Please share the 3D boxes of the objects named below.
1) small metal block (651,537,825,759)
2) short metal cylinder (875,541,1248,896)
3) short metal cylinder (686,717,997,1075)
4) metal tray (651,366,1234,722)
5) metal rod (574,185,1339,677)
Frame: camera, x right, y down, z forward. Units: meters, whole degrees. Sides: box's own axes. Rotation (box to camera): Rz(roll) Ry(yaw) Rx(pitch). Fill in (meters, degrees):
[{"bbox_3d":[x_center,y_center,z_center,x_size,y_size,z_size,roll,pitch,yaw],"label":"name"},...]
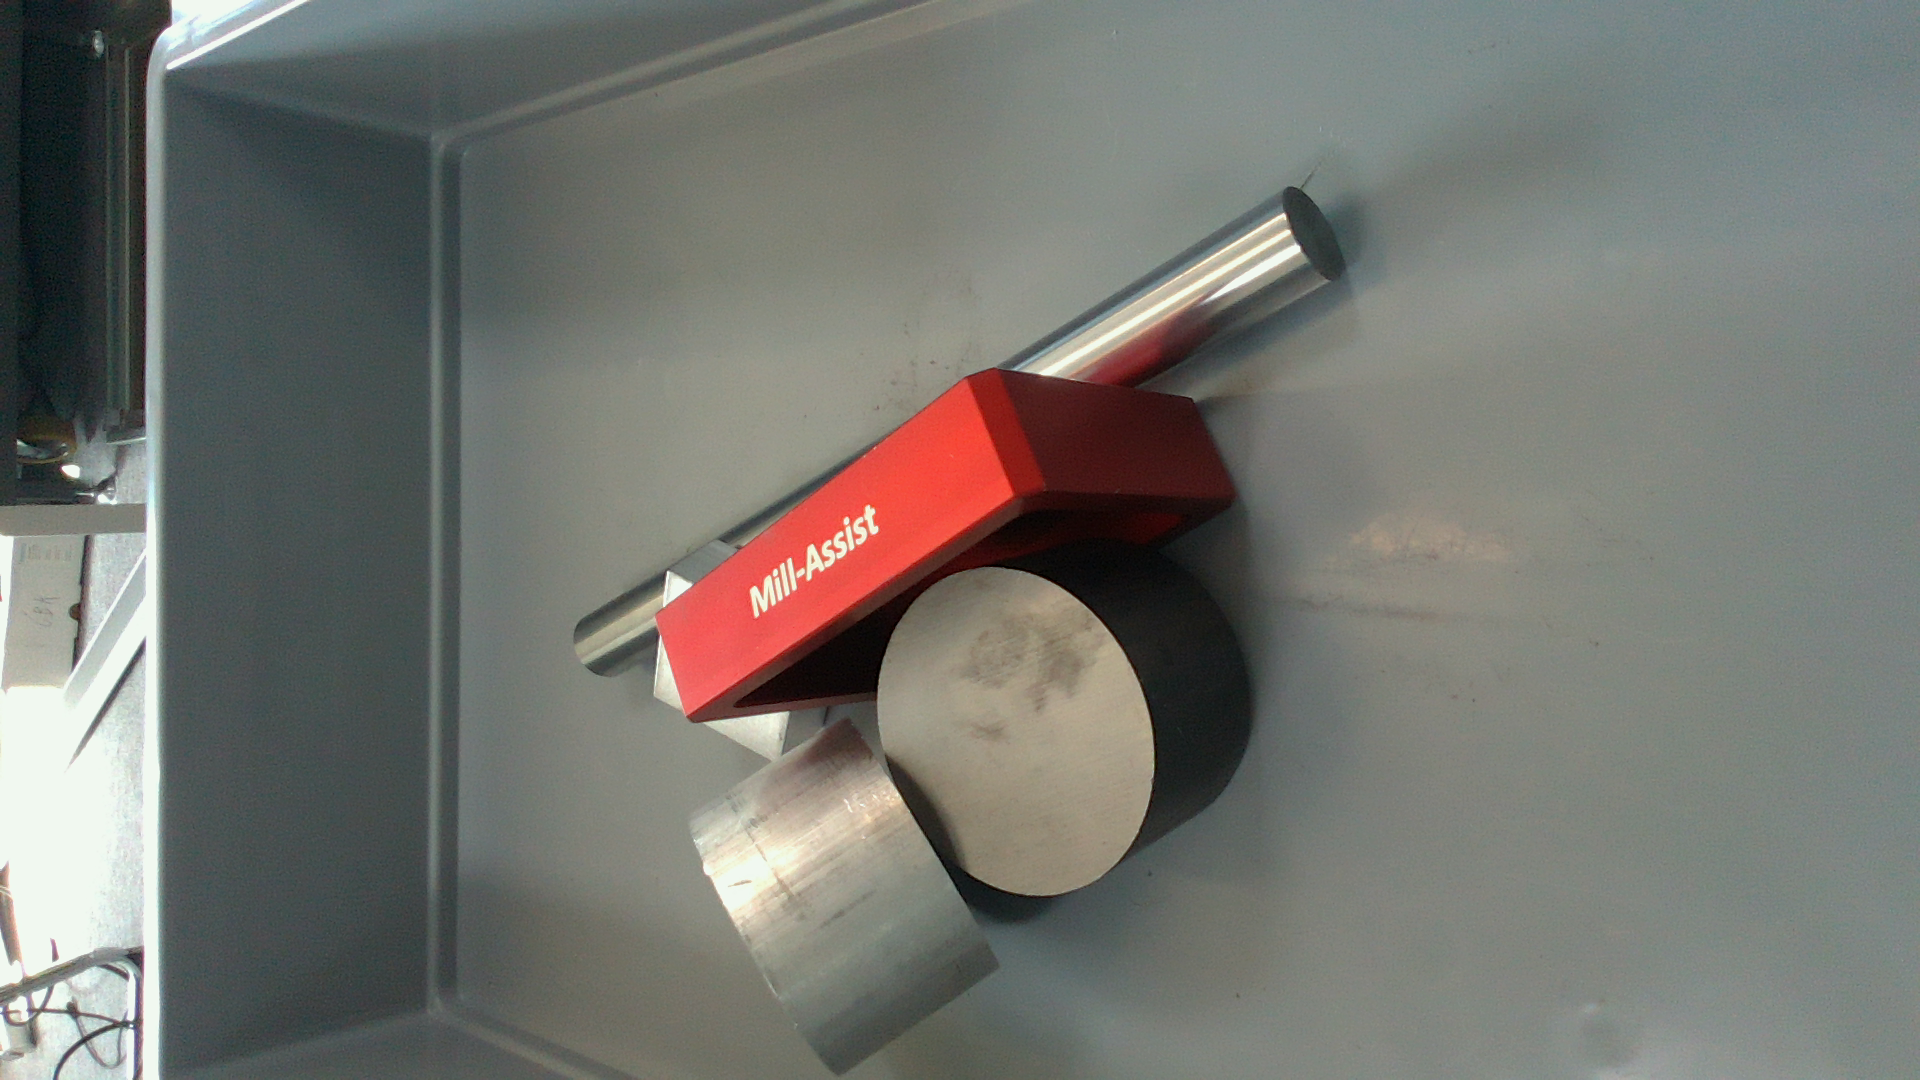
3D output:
[{"bbox_3d":[-0.067,0.035,0.433,0.050,0.025,0.050,26,123,18],"label":"small metal block"},{"bbox_3d":[0.025,0.043,0.349,0.080,0.050,0.080,7,103,35],"label":"short metal cylinder"},{"bbox_3d":[-0.032,0.095,0.375,0.050,0.080,0.080,-31,64,-9],"label":"short metal cylinder"},{"bbox_3d":[-0.006,0.005,0.356,0.130,0.090,0.030,-34,69,35],"label":"metal tray"},{"bbox_3d":[-0.024,-0.017,0.413,0.299,0.025,0.025,-28,73,37],"label":"metal rod"}]
